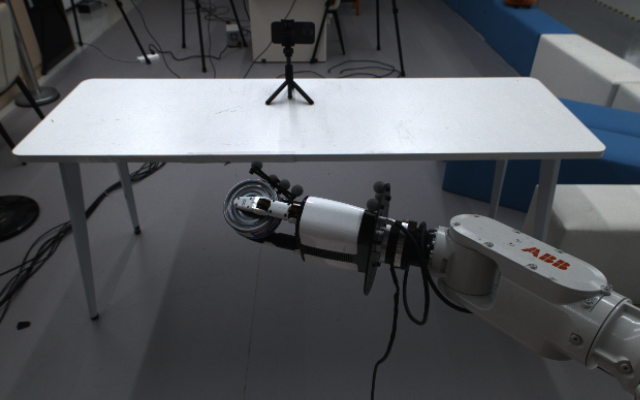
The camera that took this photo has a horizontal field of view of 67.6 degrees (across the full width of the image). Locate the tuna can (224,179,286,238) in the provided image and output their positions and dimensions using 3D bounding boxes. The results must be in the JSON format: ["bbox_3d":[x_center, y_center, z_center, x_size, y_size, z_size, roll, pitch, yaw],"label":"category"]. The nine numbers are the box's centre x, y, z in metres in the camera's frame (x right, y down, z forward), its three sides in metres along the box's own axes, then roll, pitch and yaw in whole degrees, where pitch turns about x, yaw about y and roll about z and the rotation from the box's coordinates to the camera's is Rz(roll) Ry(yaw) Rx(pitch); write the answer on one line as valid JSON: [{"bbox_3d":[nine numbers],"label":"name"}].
[{"bbox_3d":[-0.096,0.018,0.715,0.085,0.034,0.085,-4,69,10],"label":"tuna can"}]
